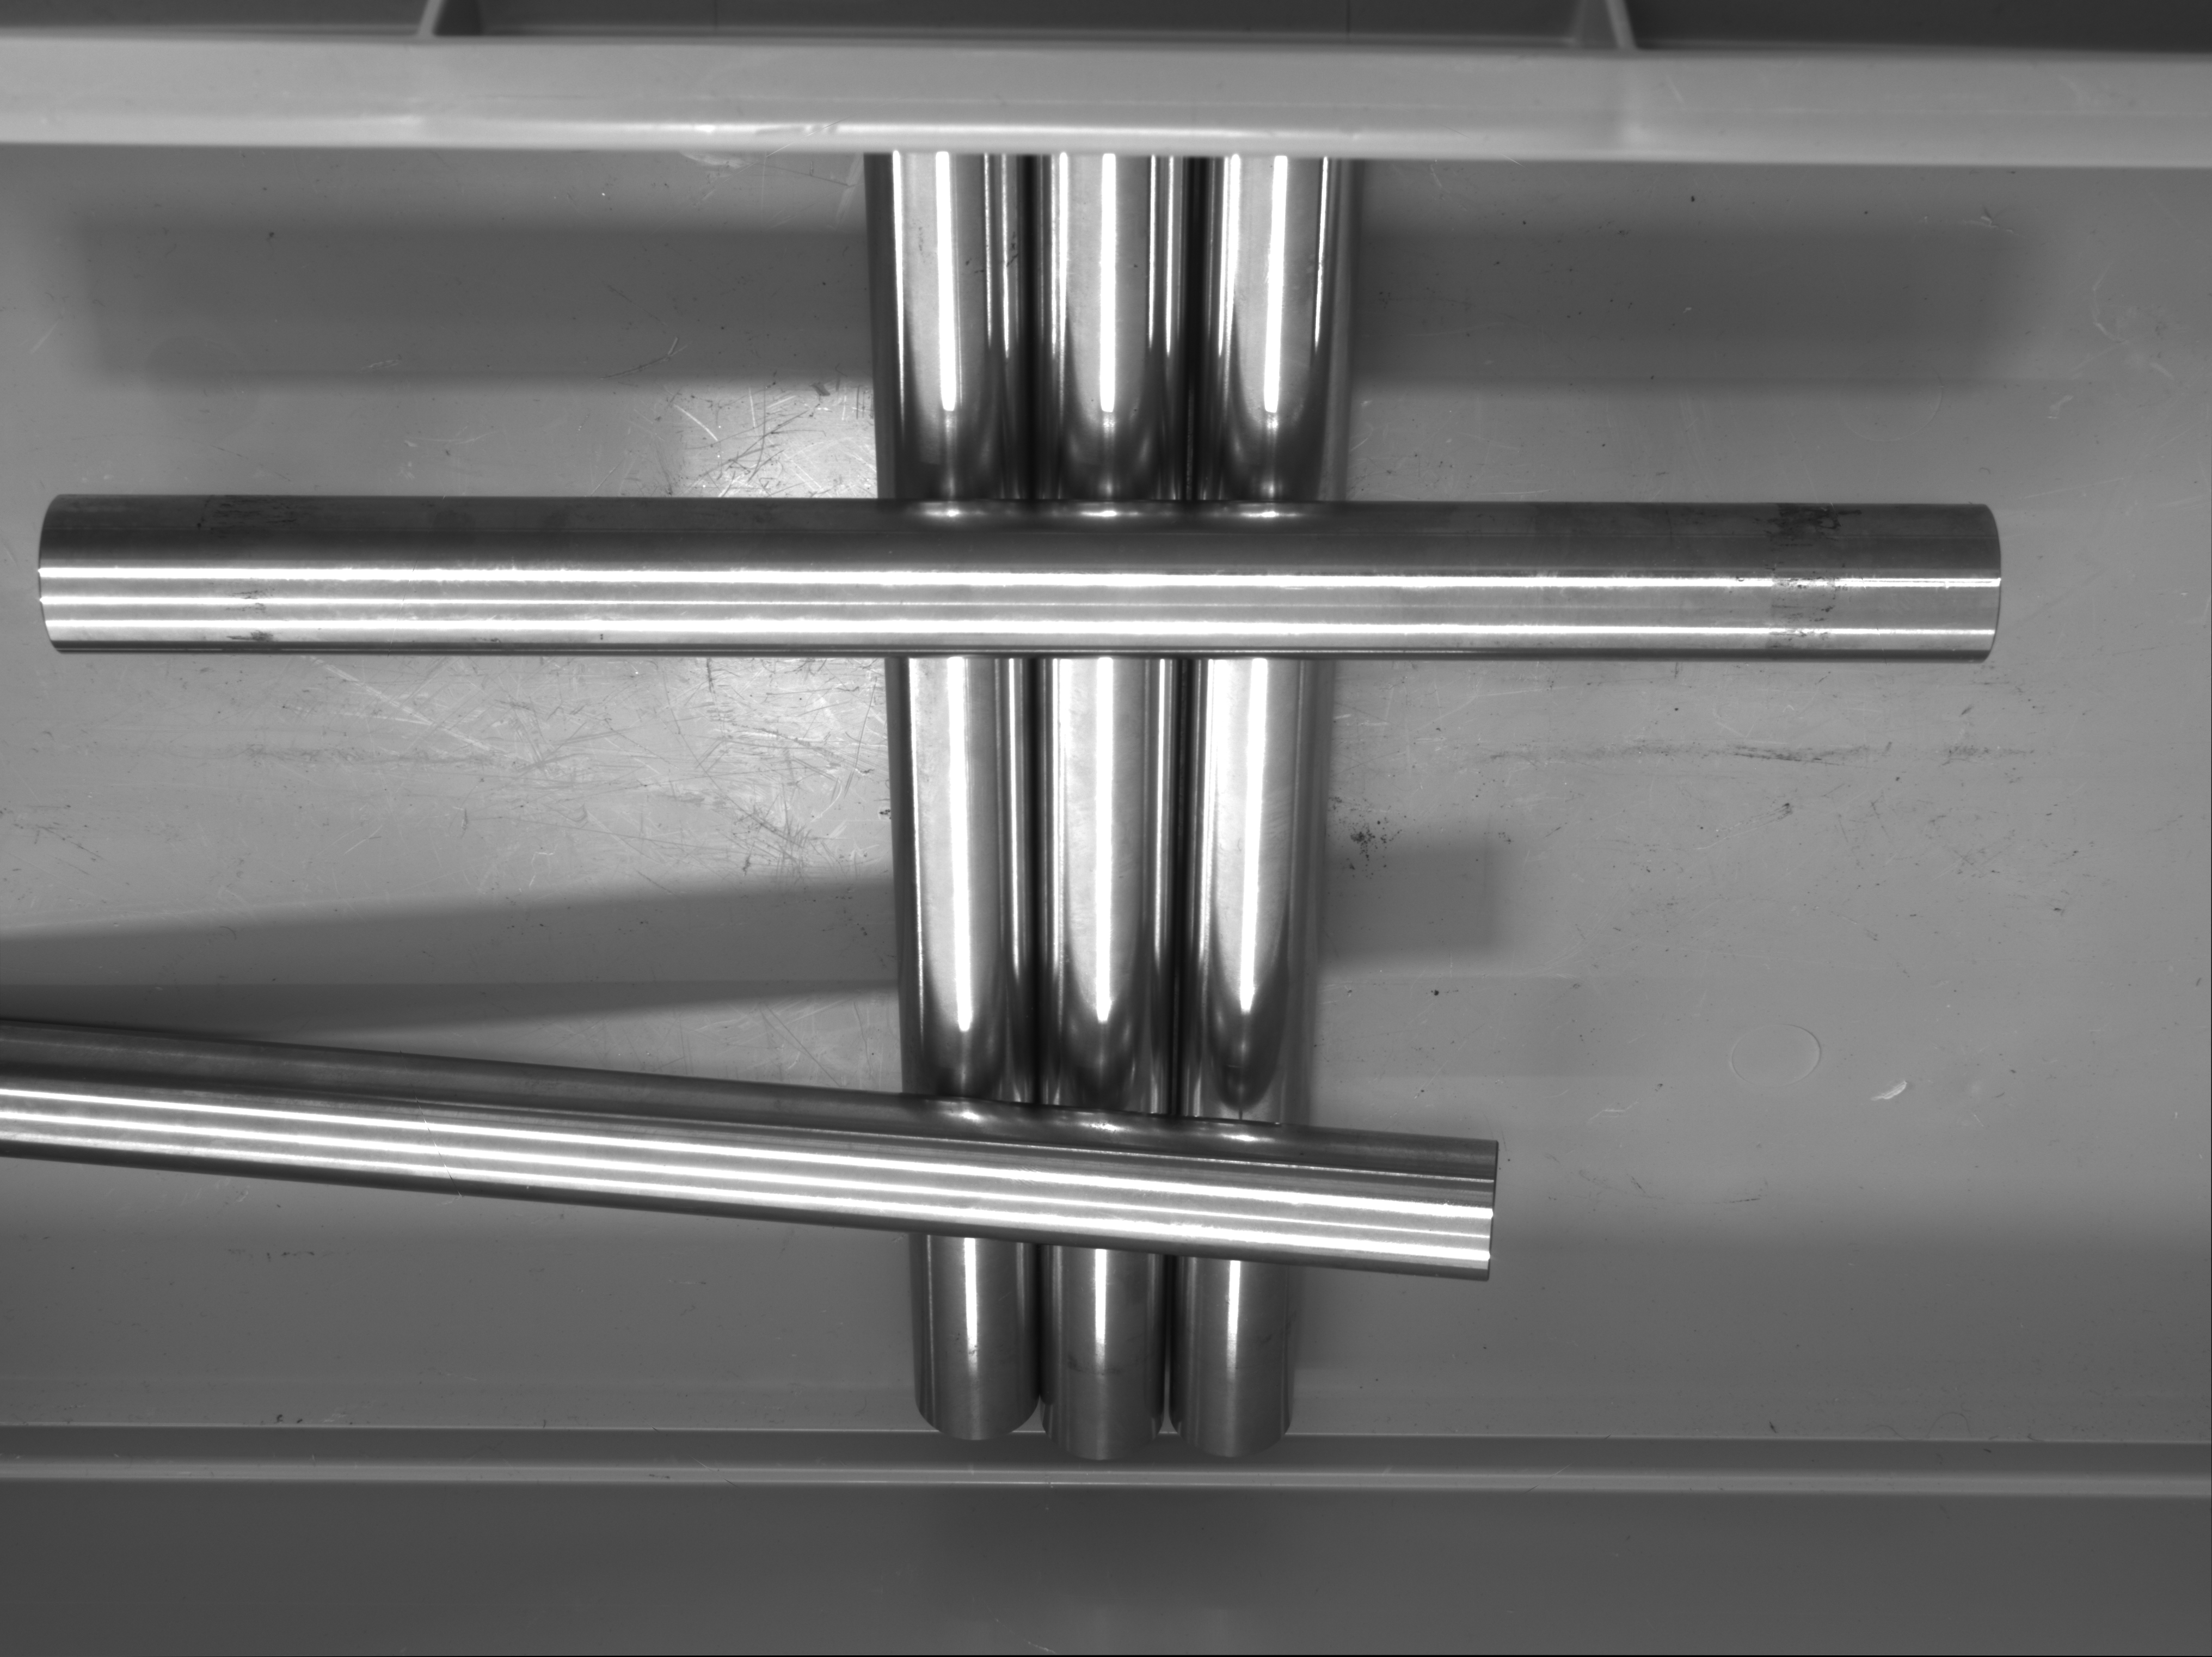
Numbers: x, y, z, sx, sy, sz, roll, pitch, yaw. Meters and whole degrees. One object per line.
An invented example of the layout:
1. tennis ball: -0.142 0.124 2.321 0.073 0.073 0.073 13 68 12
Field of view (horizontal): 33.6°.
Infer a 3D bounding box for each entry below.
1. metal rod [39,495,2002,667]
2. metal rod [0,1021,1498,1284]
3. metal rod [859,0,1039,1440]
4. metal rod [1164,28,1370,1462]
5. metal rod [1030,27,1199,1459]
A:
1. metal rod: -0.013 -0.039 0.573 0.300 0.025 0.025 0 130 0
2. metal rod: -0.080 0.057 0.662 0.300 0.025 0.025 4 130 6
3. metal rod: -0.025 -0.002 0.637 0.025 0.025 0.300 0 130 0
4. metal rod: 0.025 0.002 0.639 0.025 0.025 0.300 0 130 0
5. metal rod: 0.000 0.002 0.640 0.025 0.025 0.300 0 130 0
